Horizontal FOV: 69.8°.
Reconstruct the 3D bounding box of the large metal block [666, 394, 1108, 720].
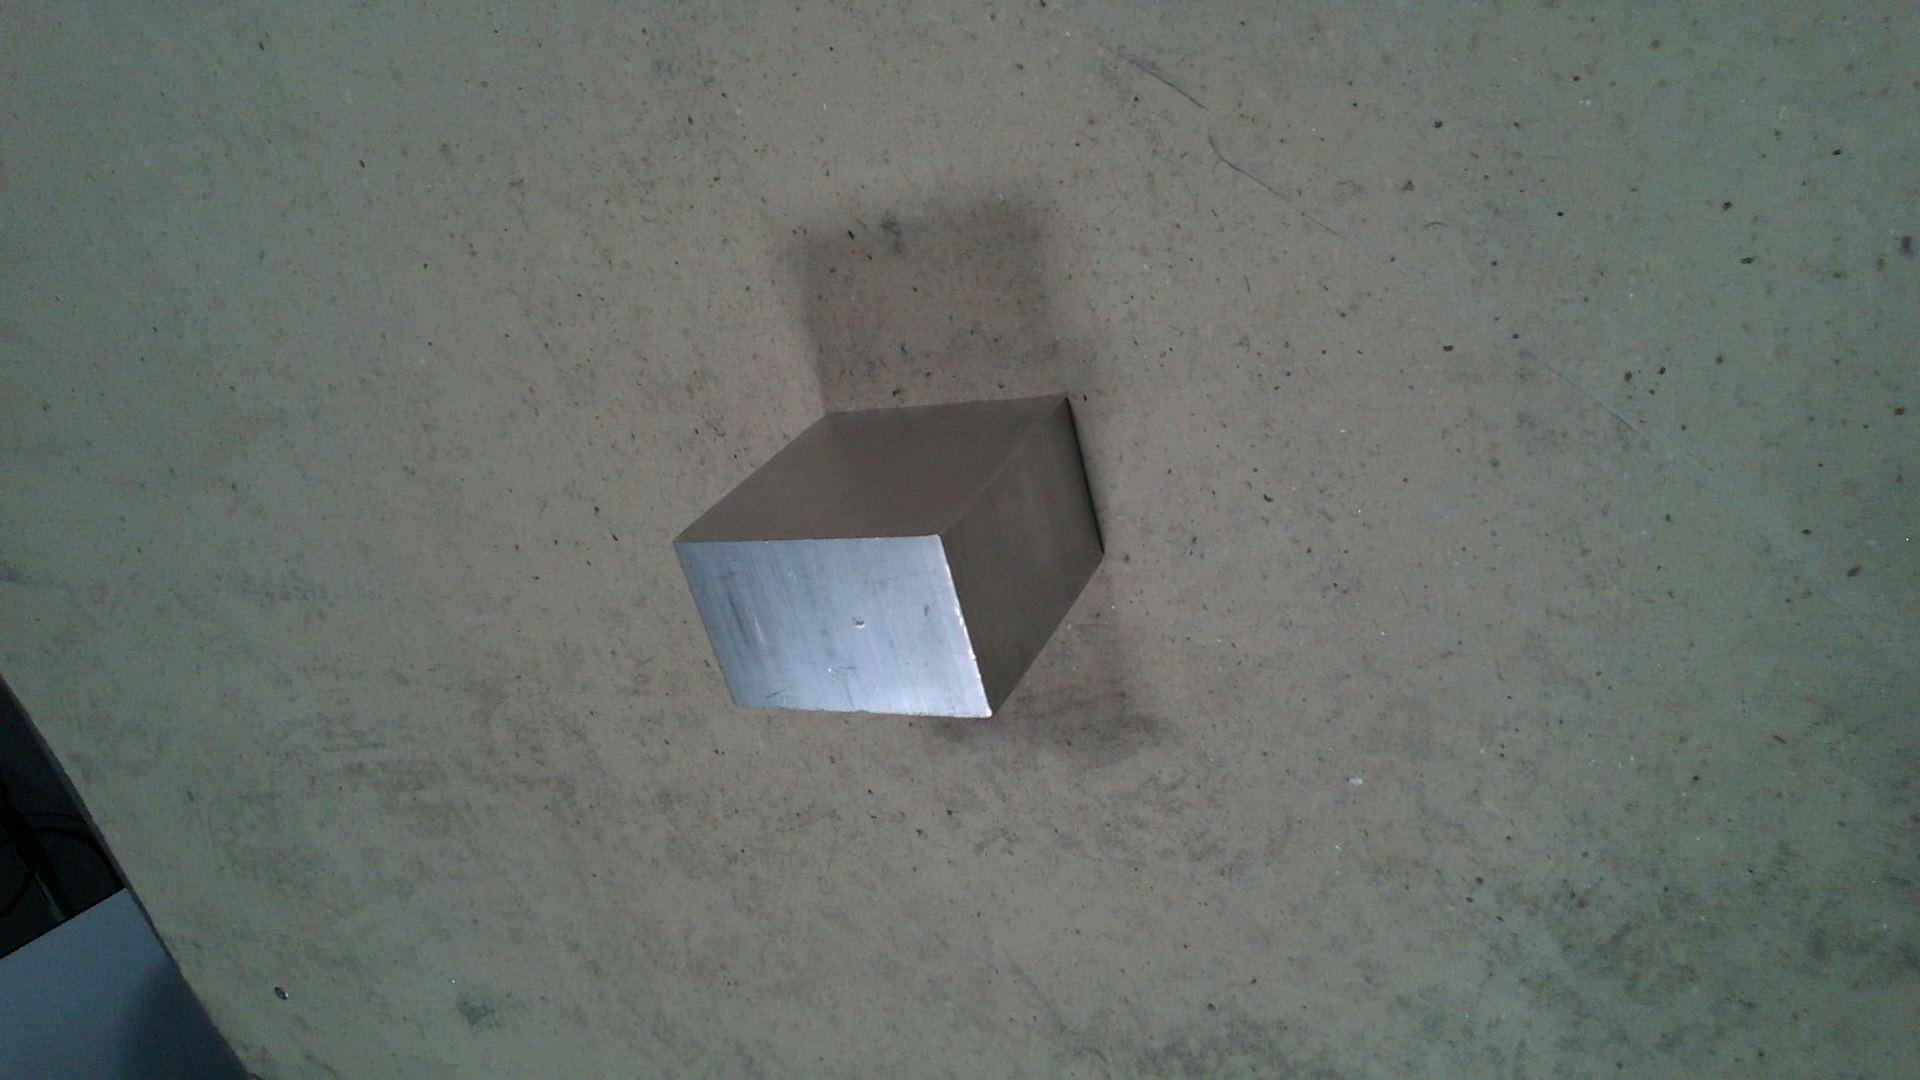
[{"bbox_3d":[-0.016,0.003,0.368,0.080,0.080,0.050,-1,118,29],"label":"large metal block"}]
